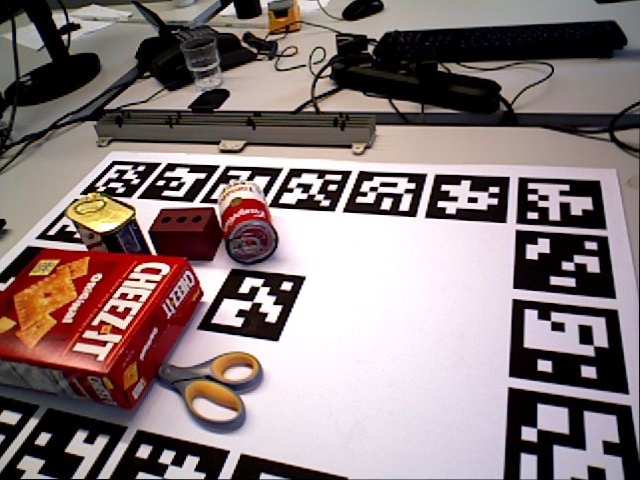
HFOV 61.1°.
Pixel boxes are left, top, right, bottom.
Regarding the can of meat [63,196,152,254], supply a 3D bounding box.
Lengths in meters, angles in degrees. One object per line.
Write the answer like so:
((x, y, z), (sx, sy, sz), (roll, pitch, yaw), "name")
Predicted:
((-0.274, -0.002, 0.708), (0.102, 0.085, 0.056), (15, 49, 27), "can of meat")

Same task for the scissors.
((-0.153, 0.143, 0.556), (0.203, 0.016, 0.086), (0, 44, 15), "scissors")

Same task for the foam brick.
((-0.173, -0.005, 0.713), (0.078, 0.052, 0.052), (-4, 43, 10), "foam brick")

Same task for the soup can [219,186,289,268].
((-0.088, -0.020, 0.705), (0.067, 0.069, 0.101), (-23, 38, -11), "soup can")

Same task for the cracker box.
((-0.260, 0.090, 0.594), (0.215, 0.073, 0.161), (-3, 42, 17), "cracker box")
